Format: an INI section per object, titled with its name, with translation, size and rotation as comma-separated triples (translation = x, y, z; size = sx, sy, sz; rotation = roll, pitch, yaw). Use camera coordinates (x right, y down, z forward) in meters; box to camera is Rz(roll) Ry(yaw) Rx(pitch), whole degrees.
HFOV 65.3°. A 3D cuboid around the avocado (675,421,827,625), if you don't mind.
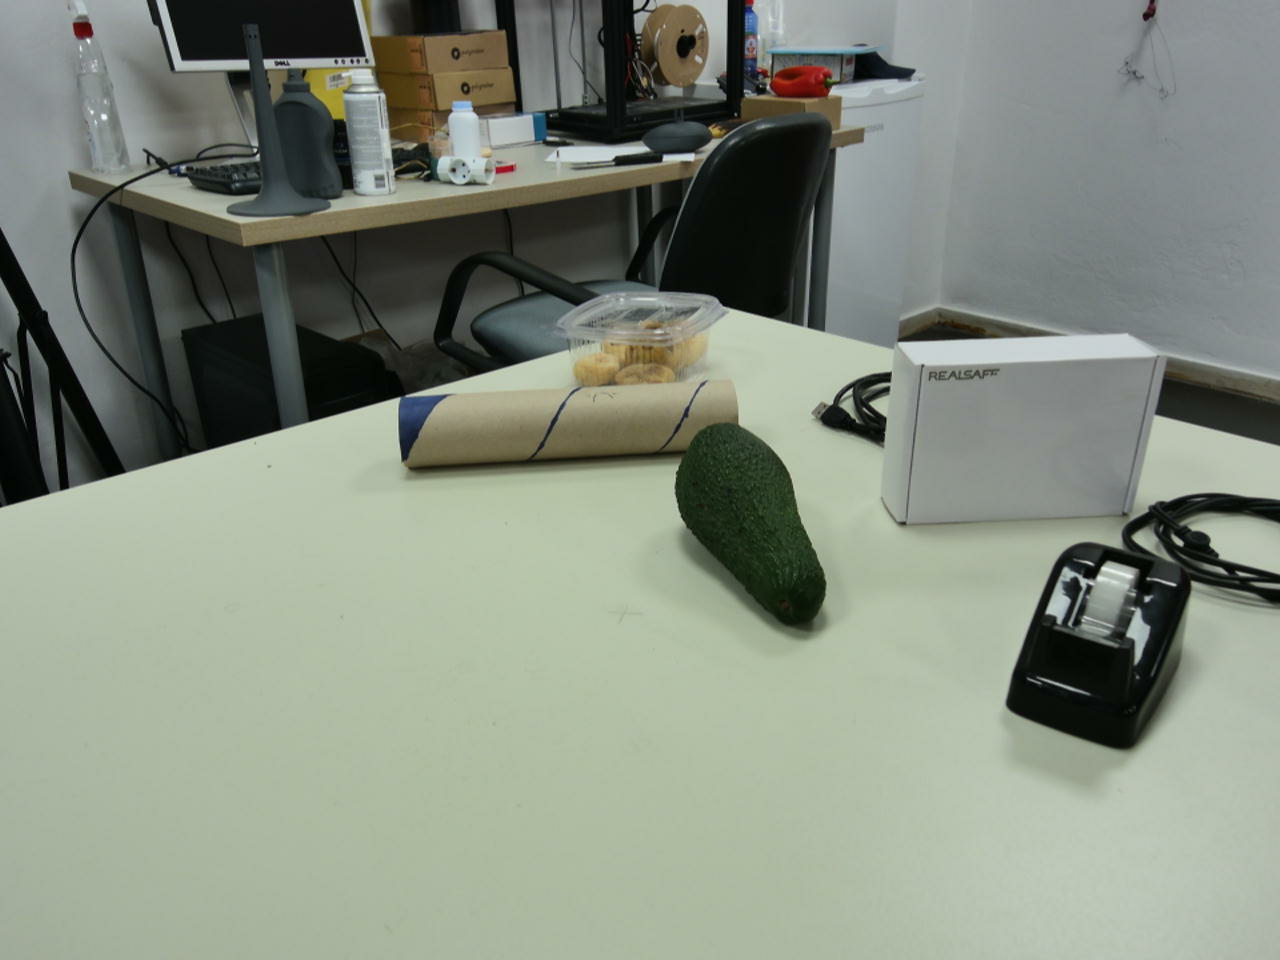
[avocado]
translation = 0.064, 0.015, 0.524
size = 0.063, 0.067, 0.141
rotation = -12, 25, -24
